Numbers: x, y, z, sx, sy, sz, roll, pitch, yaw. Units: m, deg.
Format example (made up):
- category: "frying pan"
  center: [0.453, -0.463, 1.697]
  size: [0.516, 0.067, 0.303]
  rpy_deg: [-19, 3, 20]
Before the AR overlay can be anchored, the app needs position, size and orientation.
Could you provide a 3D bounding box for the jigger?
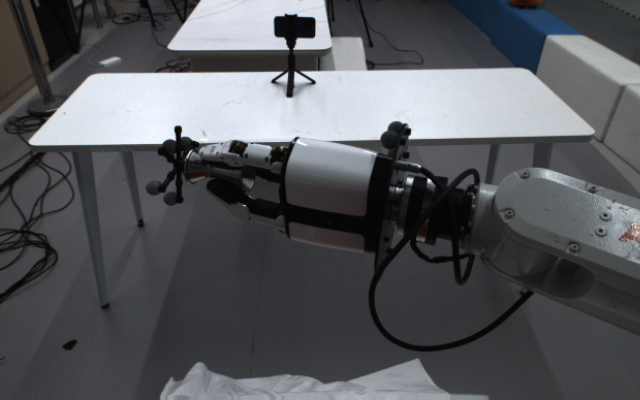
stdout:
- category: "jigger"
  center: [-0.103, -0.037, 0.536]
  size: [0.071, 0.043, 0.043]
  rpy_deg: [6, 35, 12]
